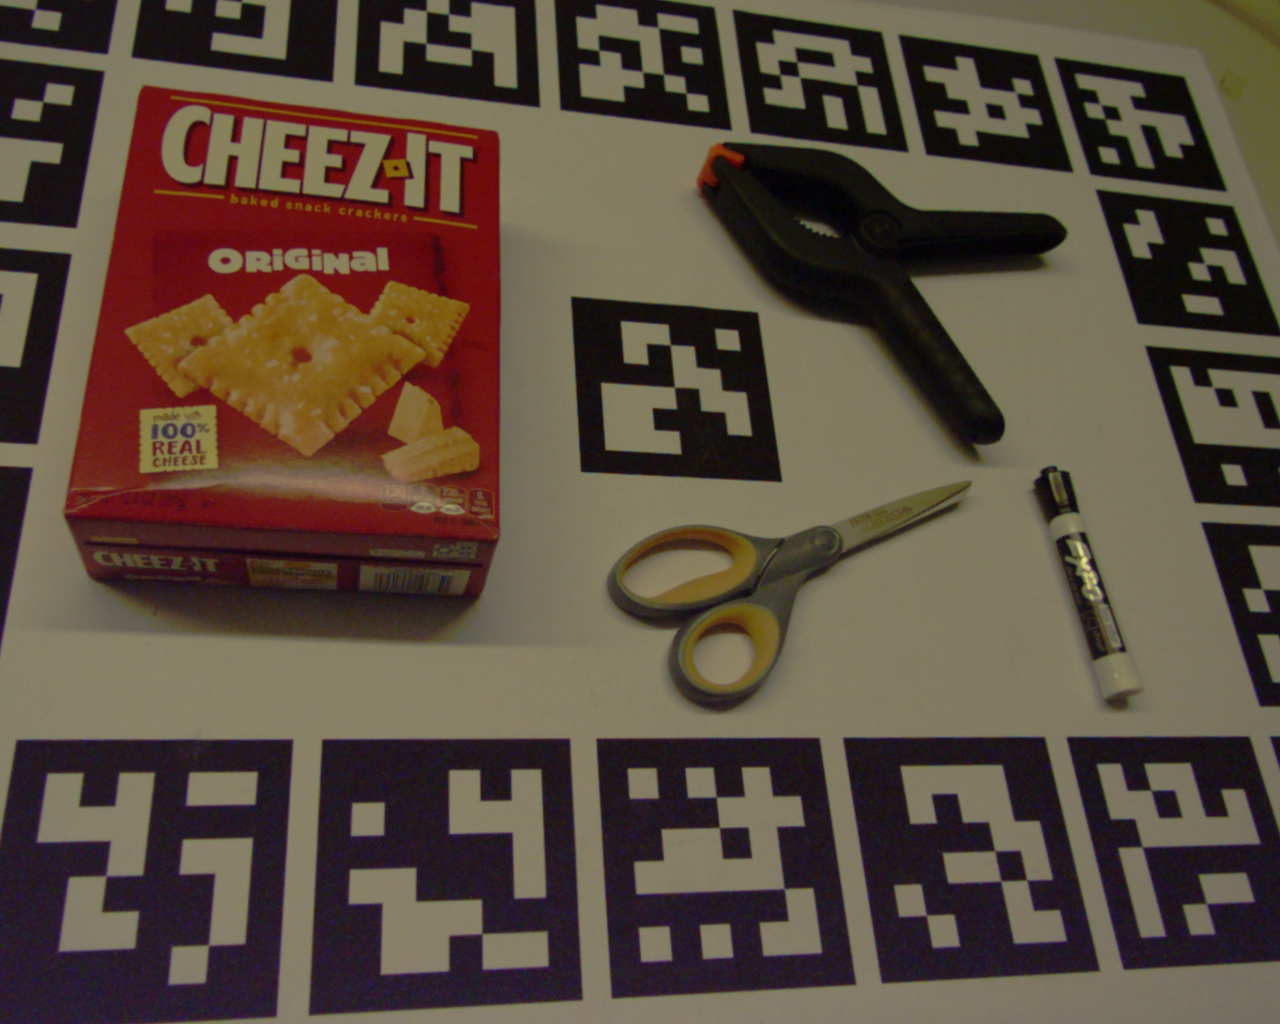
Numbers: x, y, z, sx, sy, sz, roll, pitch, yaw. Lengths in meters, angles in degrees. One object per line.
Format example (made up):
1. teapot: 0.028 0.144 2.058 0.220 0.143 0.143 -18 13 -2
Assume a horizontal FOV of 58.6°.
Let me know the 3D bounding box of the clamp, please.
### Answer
1. clamp: 0.109 -0.145 0.669 0.203 0.037 0.165 29 59 1

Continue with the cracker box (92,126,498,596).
1. cracker box: -0.149 -0.073 0.534 0.163 0.072 0.214 3 63 -13

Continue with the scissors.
1. scissors: 0.075 0.020 0.571 0.201 0.016 0.088 -26 71 -26

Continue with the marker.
1. marker: 0.214 0.030 0.599 0.019 0.020 0.121 -1 63 -15
